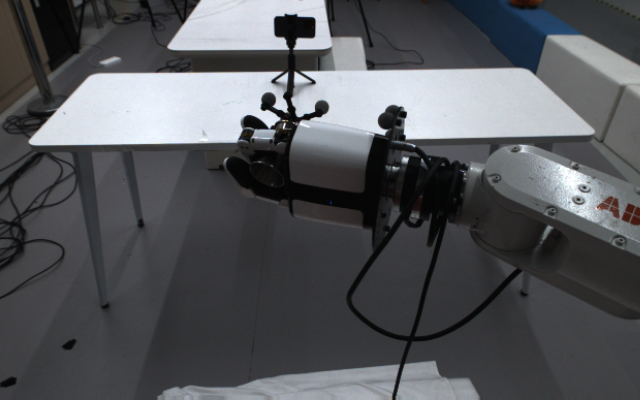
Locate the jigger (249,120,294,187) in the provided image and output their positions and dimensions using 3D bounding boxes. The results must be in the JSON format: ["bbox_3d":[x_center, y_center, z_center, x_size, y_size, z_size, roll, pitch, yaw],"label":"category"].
[{"bbox_3d":[-0.045,-0.053,0.557,0.043,0.043,0.071,13,58,16],"label":"jigger"}]
